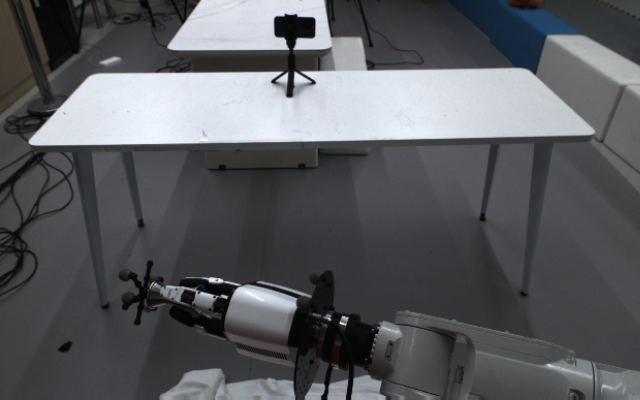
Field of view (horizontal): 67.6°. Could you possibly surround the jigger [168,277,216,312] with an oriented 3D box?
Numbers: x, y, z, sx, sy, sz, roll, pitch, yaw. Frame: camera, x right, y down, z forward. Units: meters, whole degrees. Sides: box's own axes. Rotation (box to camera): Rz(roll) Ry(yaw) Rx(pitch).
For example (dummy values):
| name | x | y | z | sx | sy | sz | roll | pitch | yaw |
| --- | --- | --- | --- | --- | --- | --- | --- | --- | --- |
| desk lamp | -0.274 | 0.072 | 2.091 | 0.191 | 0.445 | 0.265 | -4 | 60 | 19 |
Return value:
| name | x | y | z | sx | sy | sz | roll | pitch | yaw |
| --- | --- | --- | --- | --- | --- | --- | --- | --- | --- |
| jigger | -0.187 | 0.129 | 0.662 | 0.071 | 0.043 | 0.043 | 4 | 34 | 14 |
